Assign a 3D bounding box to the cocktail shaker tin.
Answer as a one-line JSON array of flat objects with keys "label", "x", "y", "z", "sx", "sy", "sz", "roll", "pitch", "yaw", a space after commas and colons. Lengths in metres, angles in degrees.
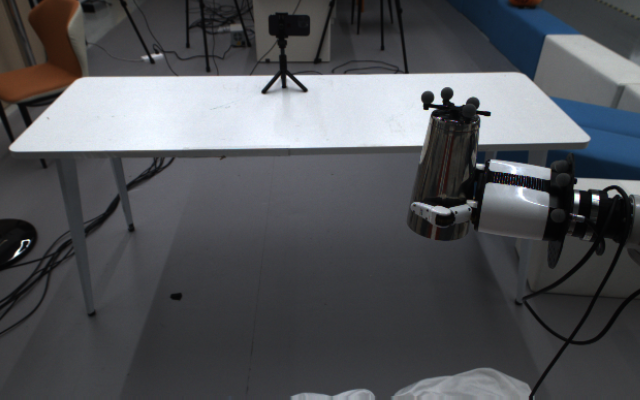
[{"label": "cocktail shaker tin", "x": 0.180, "y": -0.039, "z": 0.690, "sx": 0.093, "sy": 0.170, "sz": 0.093, "roll": 1, "pitch": 28, "yaw": -1}]
